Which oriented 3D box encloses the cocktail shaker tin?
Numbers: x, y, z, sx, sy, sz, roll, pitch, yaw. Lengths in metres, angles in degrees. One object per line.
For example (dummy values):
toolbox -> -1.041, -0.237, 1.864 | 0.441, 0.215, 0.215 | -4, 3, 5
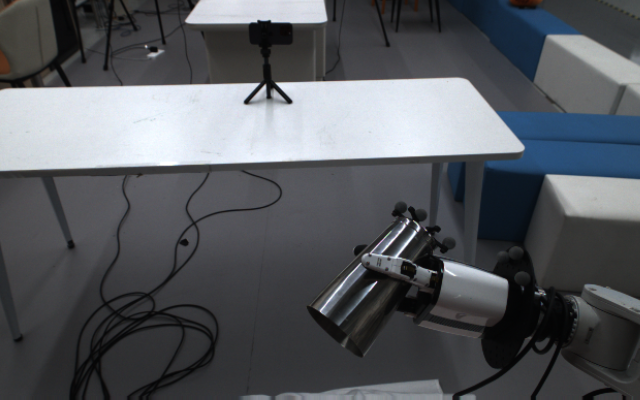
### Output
cocktail shaker tin -> 0.074, 0.099, 0.620 | 0.093, 0.093, 0.170 | 32, 67, 35
